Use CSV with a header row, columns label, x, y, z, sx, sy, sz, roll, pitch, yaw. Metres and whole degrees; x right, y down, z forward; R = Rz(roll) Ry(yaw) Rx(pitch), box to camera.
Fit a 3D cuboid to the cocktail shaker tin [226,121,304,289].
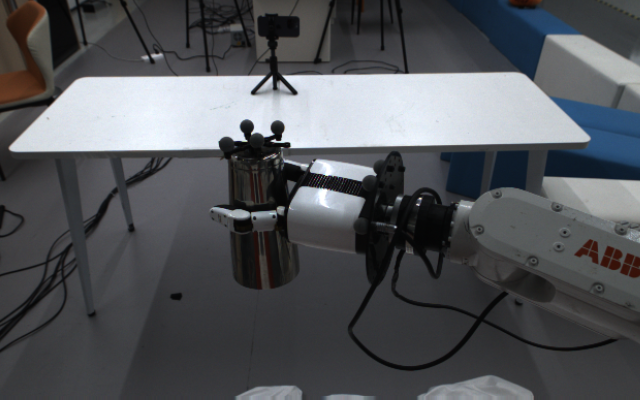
label,x,y,z,sx,sy,sz,roll,pitch,yaw
cocktail shaker tin,-0.073,0.017,0.618,0.093,0.170,0.093,-2,26,1
